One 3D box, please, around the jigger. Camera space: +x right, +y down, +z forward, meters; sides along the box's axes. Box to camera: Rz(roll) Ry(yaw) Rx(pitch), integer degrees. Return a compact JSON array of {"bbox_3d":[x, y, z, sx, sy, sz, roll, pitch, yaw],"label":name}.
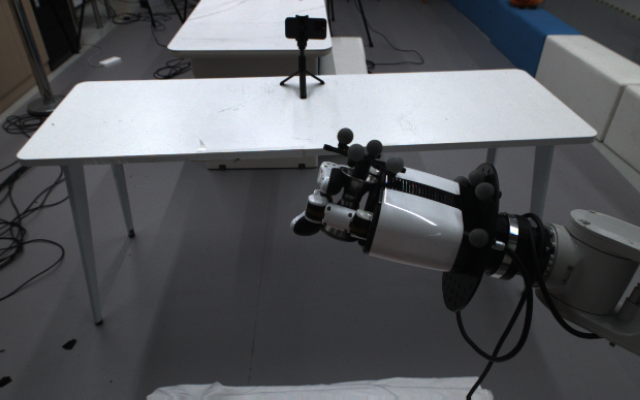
[{"bbox_3d":[0.032,0.005,0.511,0.043,0.071,0.043,18,17,-6],"label":"jigger"}]
